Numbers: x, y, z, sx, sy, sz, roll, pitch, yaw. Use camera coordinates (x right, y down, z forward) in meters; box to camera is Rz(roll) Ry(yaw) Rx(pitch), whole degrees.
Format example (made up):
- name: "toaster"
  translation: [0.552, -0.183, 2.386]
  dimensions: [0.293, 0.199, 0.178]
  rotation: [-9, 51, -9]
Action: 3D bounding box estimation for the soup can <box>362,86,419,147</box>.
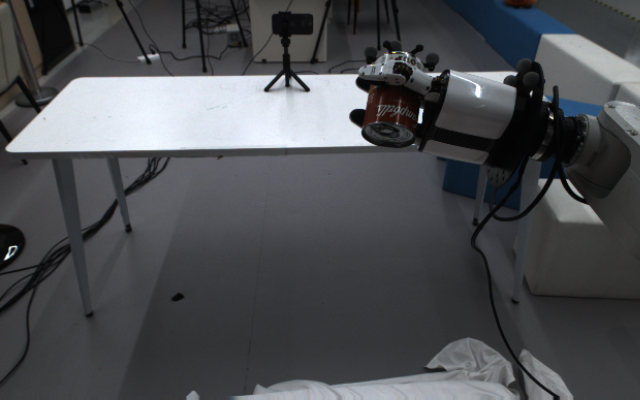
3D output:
- name: "soup can"
  translation: [0.094, -0.126, 0.608]
  dimensions: [0.067, 0.067, 0.101]
  rotation: [8, 72, 9]
